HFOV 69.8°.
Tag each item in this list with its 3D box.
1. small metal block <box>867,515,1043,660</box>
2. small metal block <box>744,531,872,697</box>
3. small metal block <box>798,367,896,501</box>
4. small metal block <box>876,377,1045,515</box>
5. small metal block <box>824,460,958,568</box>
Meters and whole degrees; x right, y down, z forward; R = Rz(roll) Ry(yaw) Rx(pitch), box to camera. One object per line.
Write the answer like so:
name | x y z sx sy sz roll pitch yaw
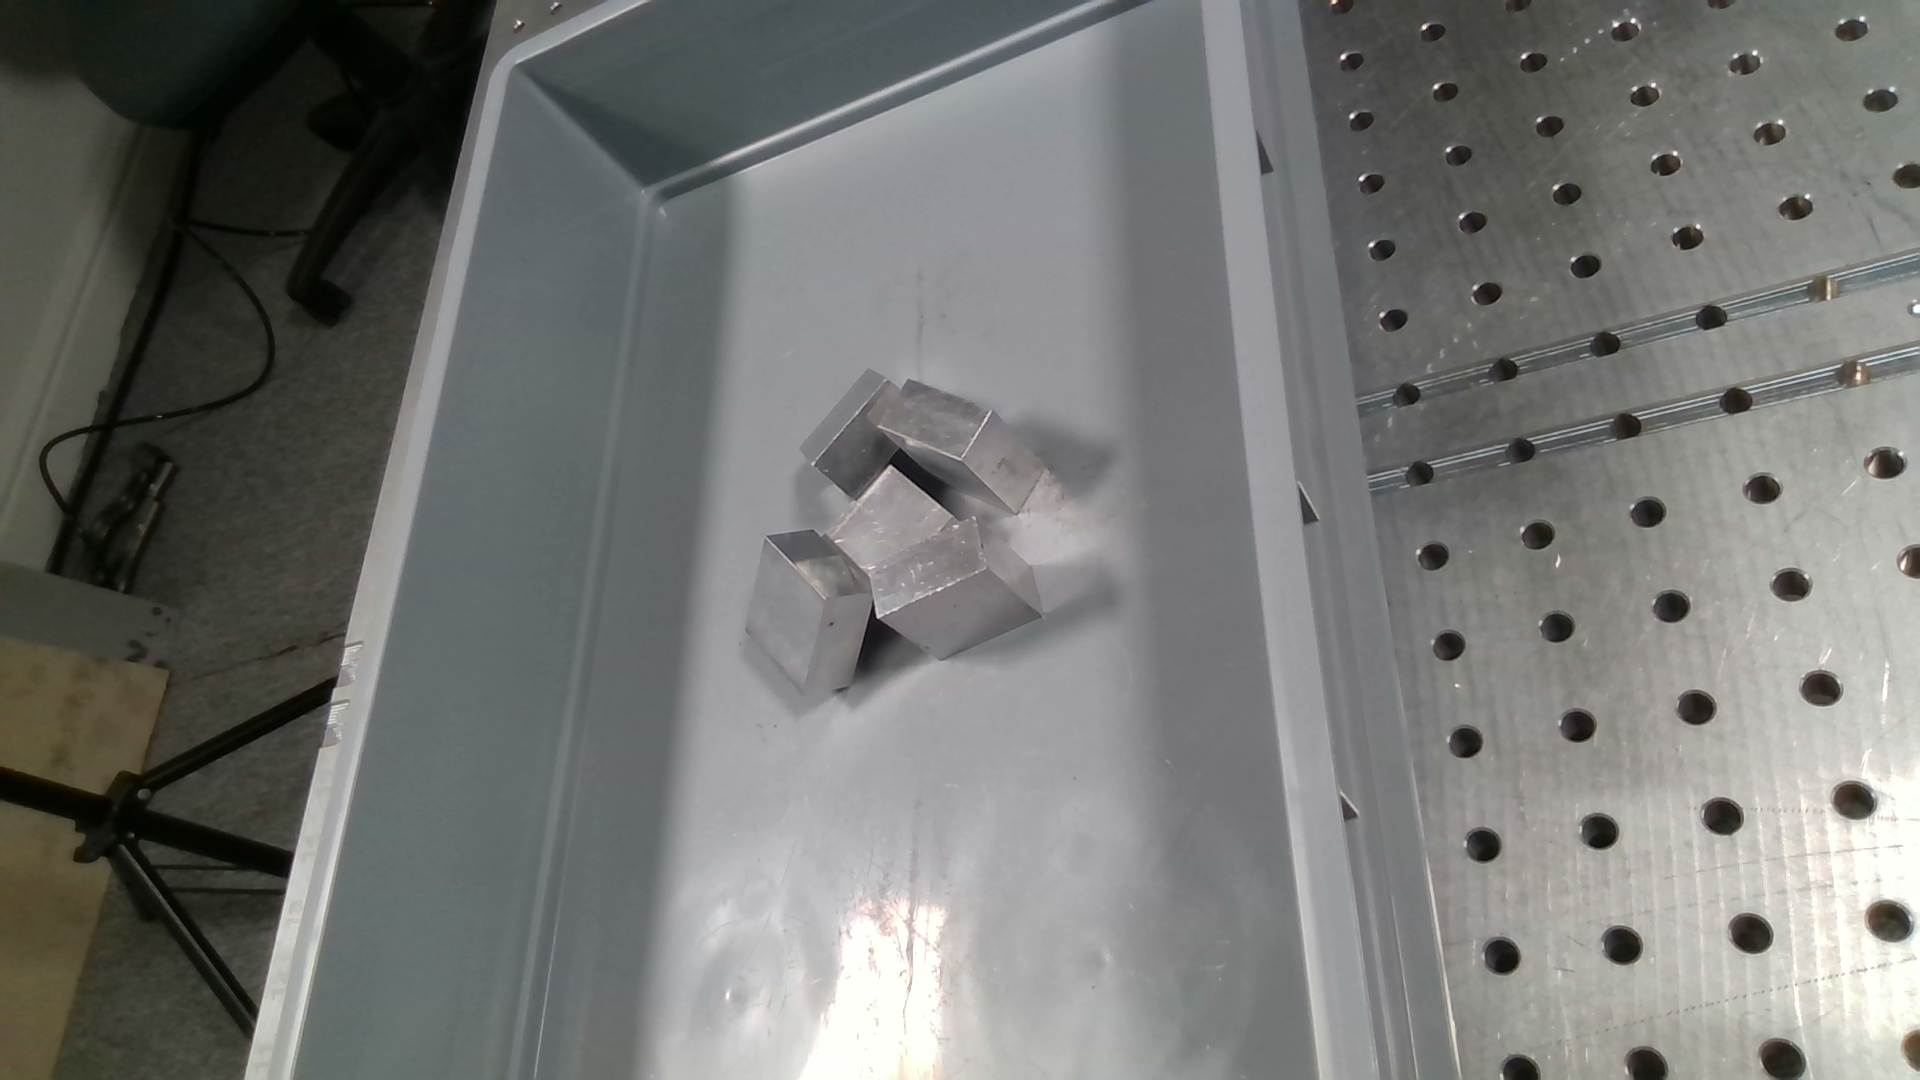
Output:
small metal block | -0.002 0.020 0.557 0.050 0.050 0.025 -25 56 18
small metal block | -0.066 0.031 0.591 0.050 0.025 0.050 42 127 39
small metal block | -0.045 -0.049 0.623 0.050 0.025 0.050 -49 18 1
small metal block | 0.001 -0.040 0.588 0.050 0.050 0.025 26 80 38
small metal block | -0.028 0.001 0.600 0.050 0.025 0.050 -49 51 0
